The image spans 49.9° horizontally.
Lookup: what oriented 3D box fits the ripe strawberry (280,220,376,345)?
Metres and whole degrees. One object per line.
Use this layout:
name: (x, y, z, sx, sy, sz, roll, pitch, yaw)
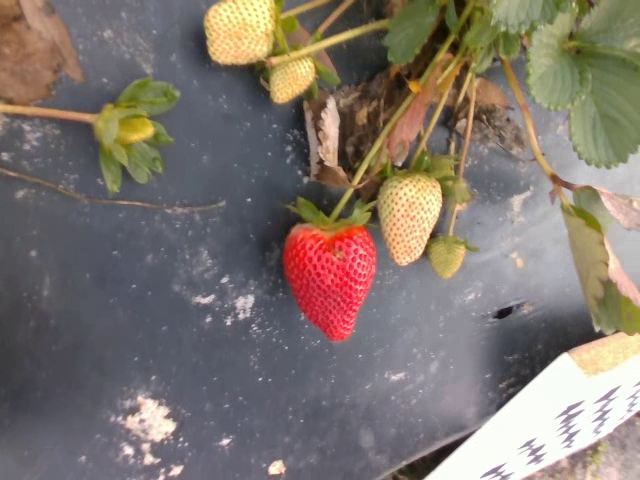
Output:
ripe strawberry: (0.006, 0.017, 0.300, 0.050, 0.059, 0.033, -13, 6, -22)
